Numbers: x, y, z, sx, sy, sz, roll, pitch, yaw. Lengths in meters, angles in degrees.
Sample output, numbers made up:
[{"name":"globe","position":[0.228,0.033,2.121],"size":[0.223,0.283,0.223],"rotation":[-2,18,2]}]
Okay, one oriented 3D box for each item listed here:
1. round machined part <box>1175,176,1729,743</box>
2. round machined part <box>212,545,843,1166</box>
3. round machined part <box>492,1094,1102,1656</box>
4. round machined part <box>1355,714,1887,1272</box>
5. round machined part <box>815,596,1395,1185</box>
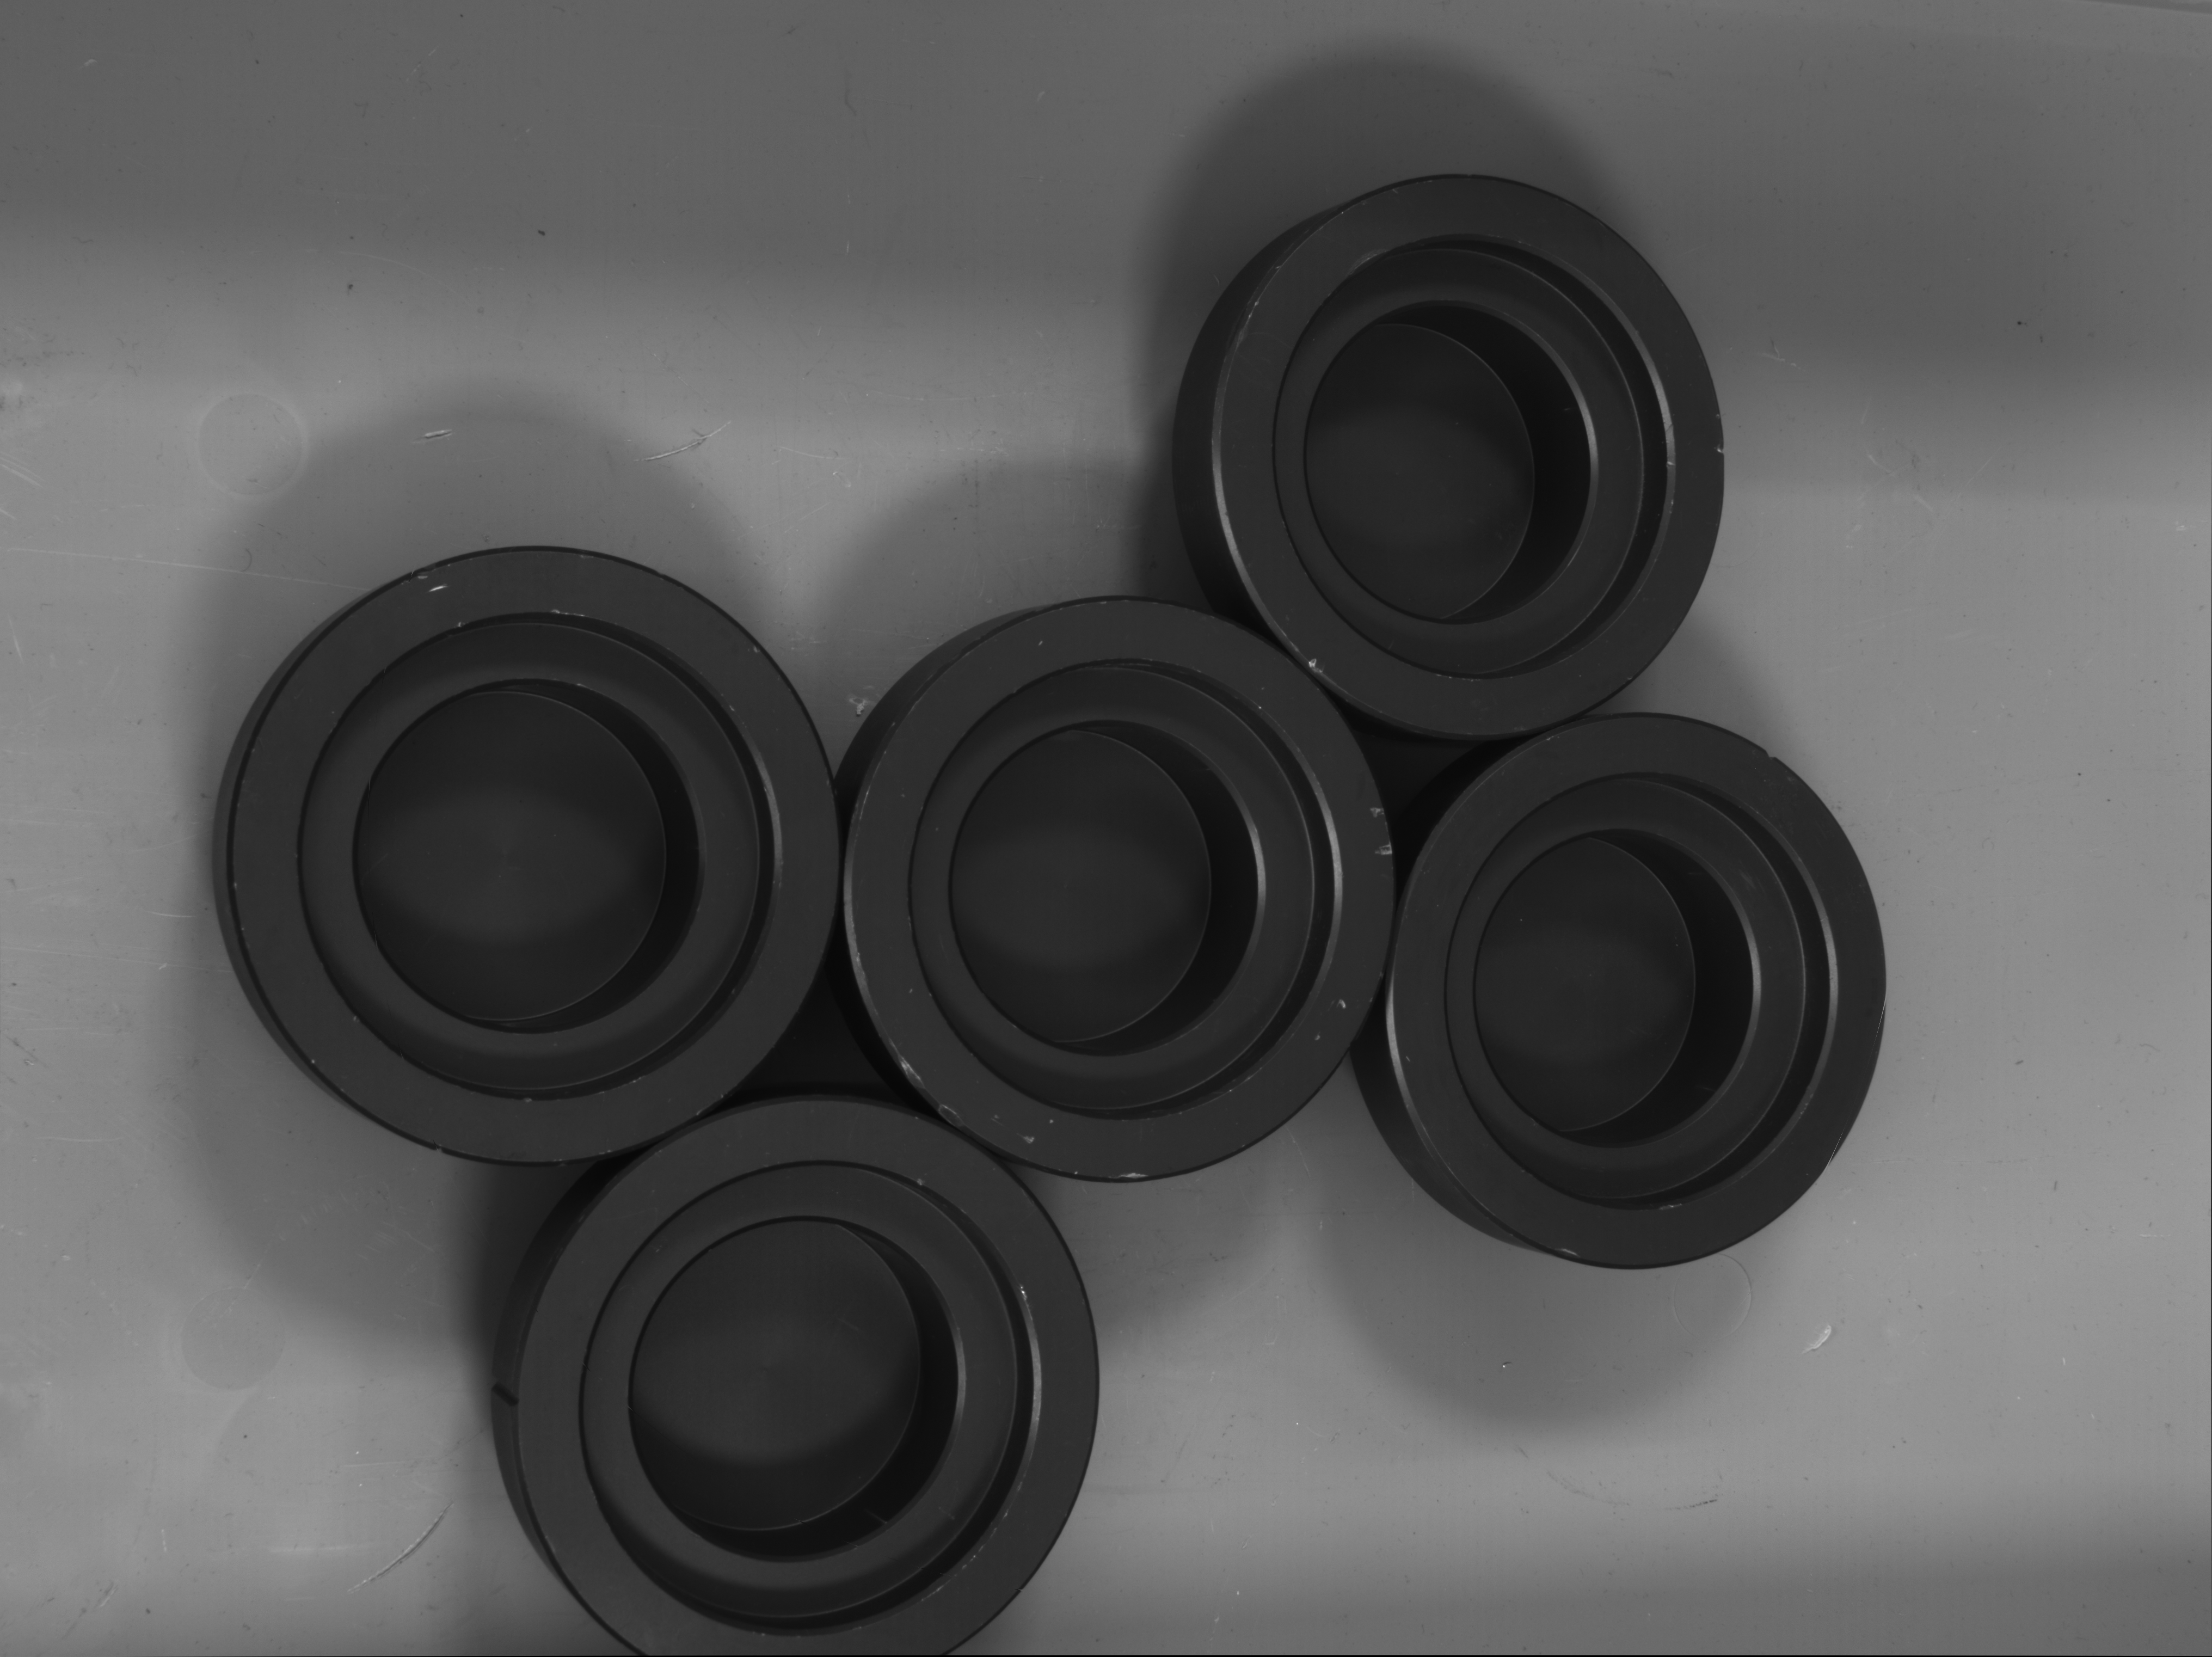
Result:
[{"name":"round machined part","position":[0.058,-0.064,0.653],"size":[0.098,0.042,0.098],"rotation":[0,90,-20]},{"name":"round machined part","position":[-0.096,0.004,0.597],"size":[0.098,0.042,0.098],"rotation":[0,90,-20]},{"name":"round machined part","position":[-0.054,0.092,0.611],"size":[0.098,0.042,0.098],"rotation":[0,90,-20]},{"name":"round machined part","position":[0.088,0.029,0.663],"size":[0.098,0.042,0.098],"rotation":[0,90,-20]},{"name":"round machined part","position":[-0.003,0.010,0.629],"size":[0.098,0.042,0.098],"rotation":[0,90,-20]}]
